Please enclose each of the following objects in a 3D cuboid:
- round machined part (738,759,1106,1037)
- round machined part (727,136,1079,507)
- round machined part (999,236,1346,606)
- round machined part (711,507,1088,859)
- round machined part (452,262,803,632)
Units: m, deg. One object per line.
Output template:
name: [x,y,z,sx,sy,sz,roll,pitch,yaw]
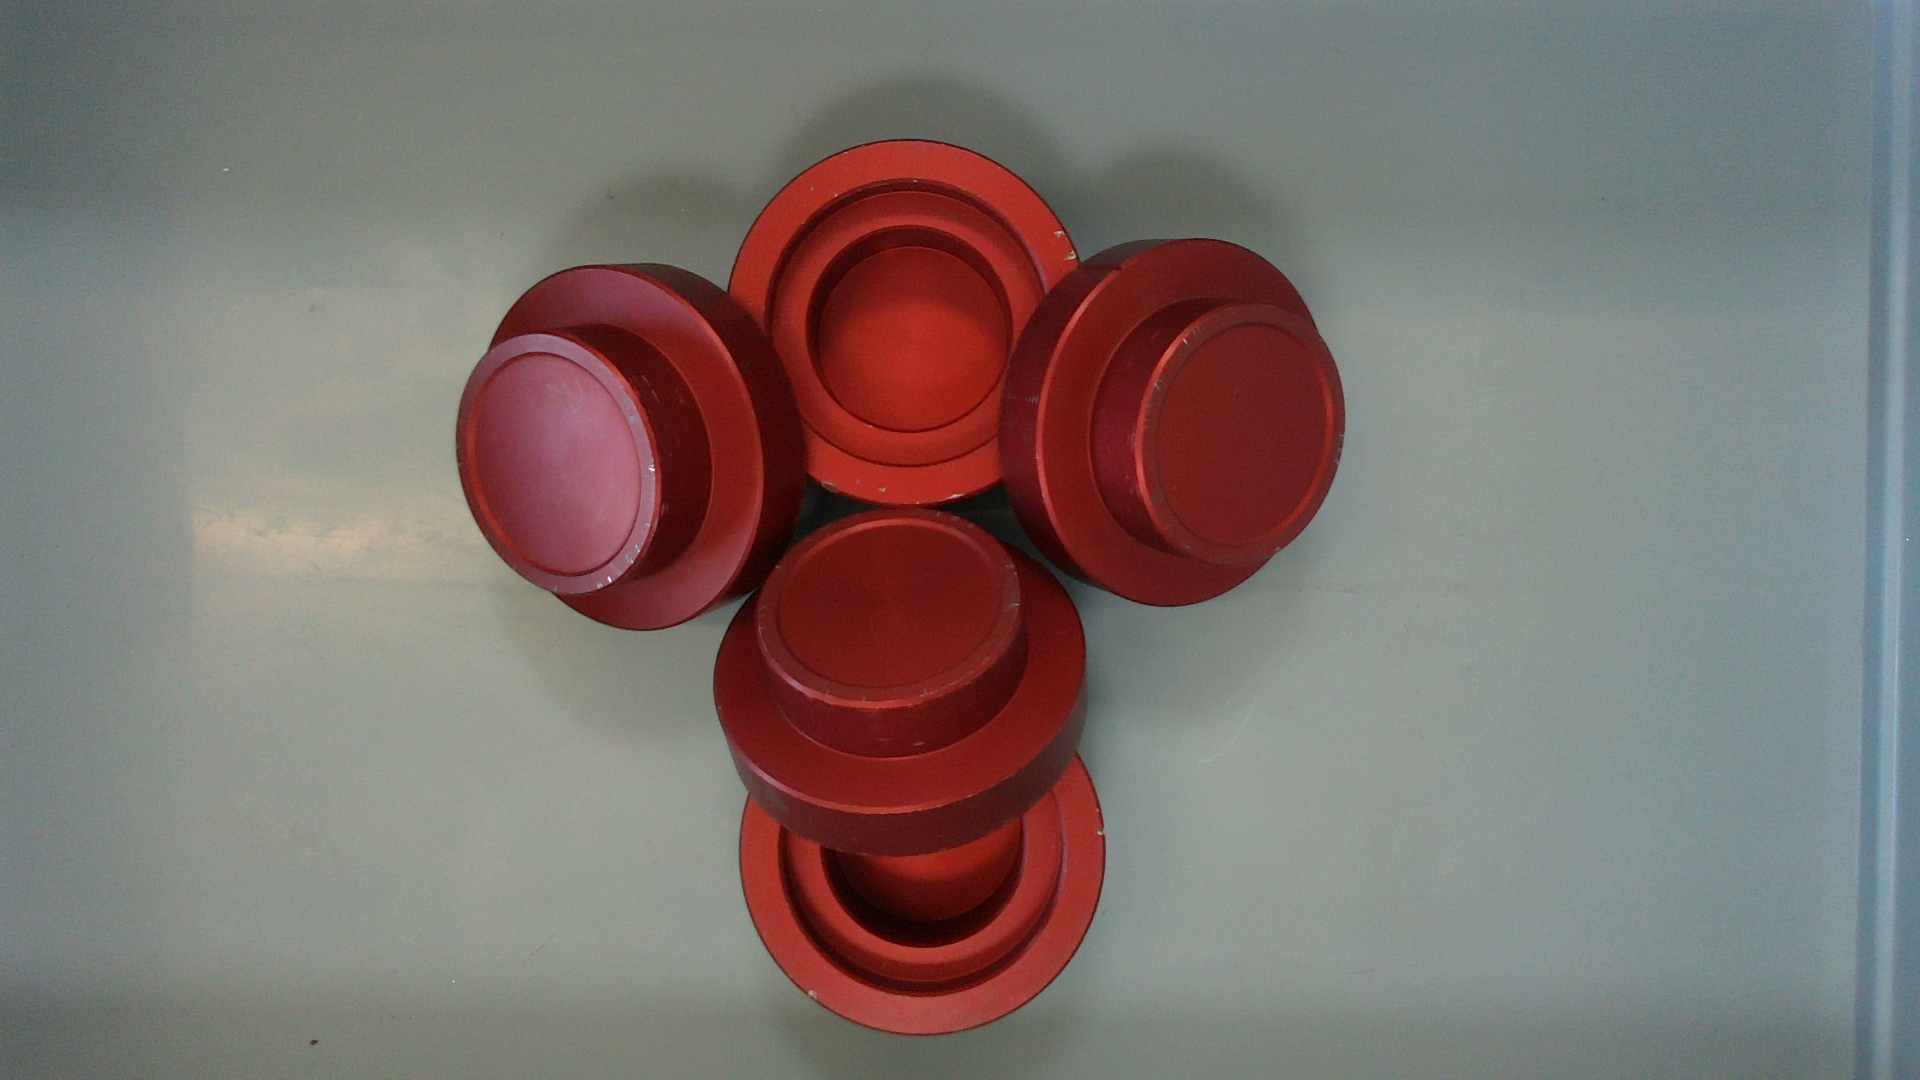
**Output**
round machined part: [-0.010,0.083,0.385,0.098,0.042,0.098,0,90,0]
round machined part: [-0.014,-0.058,0.384,0.098,0.042,0.098,0,90,0]
round machined part: [0.062,-0.030,0.363,0.098,0.042,0.098,-7,104,-29]
round machined part: [-0.016,0.029,0.357,0.098,0.098,0.042,-6,134,0]
round machined part: [-0.094,-0.023,0.363,0.098,0.042,0.098,6,104,26]
